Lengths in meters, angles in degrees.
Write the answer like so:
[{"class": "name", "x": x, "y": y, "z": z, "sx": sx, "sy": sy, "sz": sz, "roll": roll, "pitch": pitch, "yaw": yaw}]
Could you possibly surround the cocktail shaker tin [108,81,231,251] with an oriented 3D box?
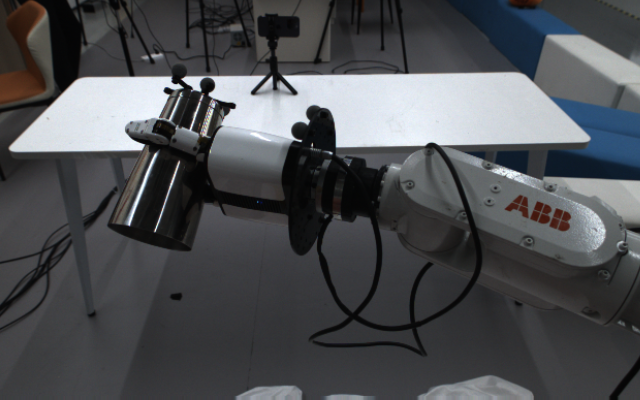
[{"class": "cocktail shaker tin", "x": -0.164, "y": -0.035, "z": 0.550, "sx": 0.093, "sy": 0.093, "sz": 0.170, "roll": 10, "pitch": 71, "yaw": 11}]
